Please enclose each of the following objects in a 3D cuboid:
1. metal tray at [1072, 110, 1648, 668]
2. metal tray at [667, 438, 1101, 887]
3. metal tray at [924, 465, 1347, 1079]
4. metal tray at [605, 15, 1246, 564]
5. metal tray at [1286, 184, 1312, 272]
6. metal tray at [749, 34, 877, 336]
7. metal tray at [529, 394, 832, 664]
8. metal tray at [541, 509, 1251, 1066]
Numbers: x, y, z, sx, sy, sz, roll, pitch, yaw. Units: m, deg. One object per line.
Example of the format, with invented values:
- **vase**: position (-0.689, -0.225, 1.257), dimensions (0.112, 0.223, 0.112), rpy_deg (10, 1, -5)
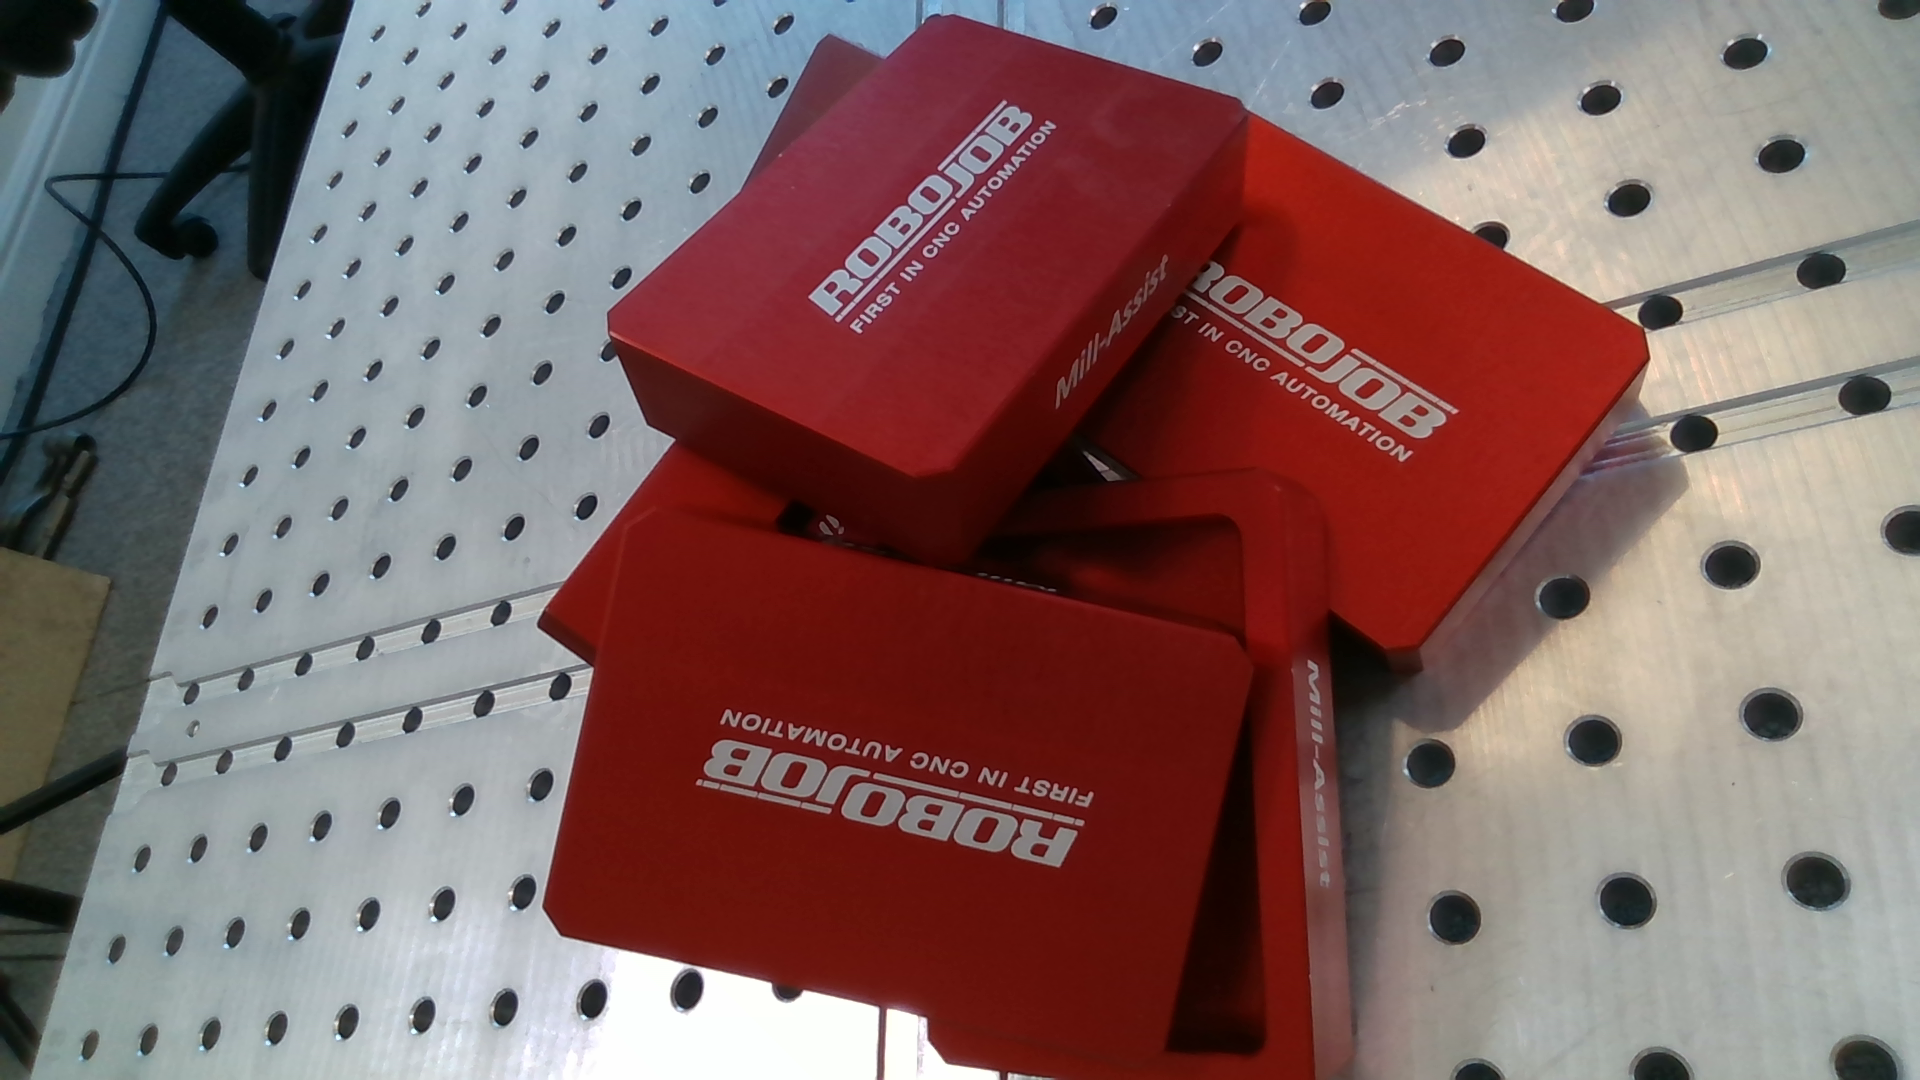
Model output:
- **metal tray**: position (0.083, -0.042, 0.339), dimensions (0.130, 0.030, 0.090), rpy_deg (39, 91, 25)
- **metal tray**: position (-0.015, 0.028, 0.349), dimensions (0.030, 0.090, 0.130), rpy_deg (36, 86, 39)
- **metal tray**: position (0.037, 0.053, 0.313), dimensions (0.090, 0.030, 0.130), rpy_deg (-4, 84, 29)
- **metal tray**: position (-0.004, -0.064, 0.315), dimensions (0.090, 0.030, 0.130), rpy_deg (26, 60, 24)
- **metal tray**: position (0.034, -0.086, 0.416), dimensions (0.130, 0.030, 0.090), rpy_deg (29, 82, 38)
- **metal tray**: position (-0.029, -0.101, 0.435), dimensions (0.090, 0.030, 0.130), rpy_deg (-59, 38, 12)
- **metal tray**: position (-0.065, -0.007, 0.380), dimensions (0.030, 0.130, 0.090), rpy_deg (37, 87, -3)
- **metal tray**: position (-0.013, 0.050, 0.293), dimensions (0.130, 0.030, 0.090), rpy_deg (13, 94, 1)
